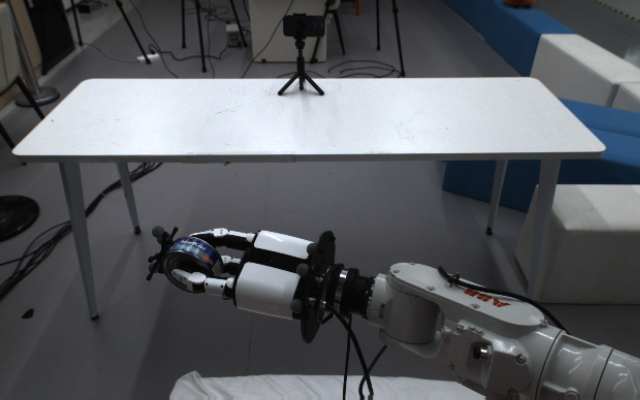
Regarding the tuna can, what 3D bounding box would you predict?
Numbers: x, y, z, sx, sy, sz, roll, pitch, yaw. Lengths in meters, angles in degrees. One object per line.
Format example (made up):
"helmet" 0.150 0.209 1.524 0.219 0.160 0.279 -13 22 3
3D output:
"tuna can" -0.187 0.098 0.715 0.085 0.085 0.034 9 37 10
